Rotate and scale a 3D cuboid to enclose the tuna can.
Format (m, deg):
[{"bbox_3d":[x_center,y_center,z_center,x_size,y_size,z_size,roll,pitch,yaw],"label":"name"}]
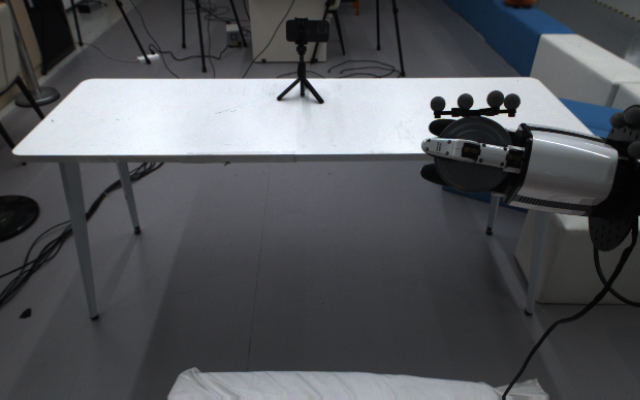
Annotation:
[{"bbox_3d":[0.176,-0.053,0.556,0.085,0.085,0.034,12,8,15],"label":"tuna can"}]
